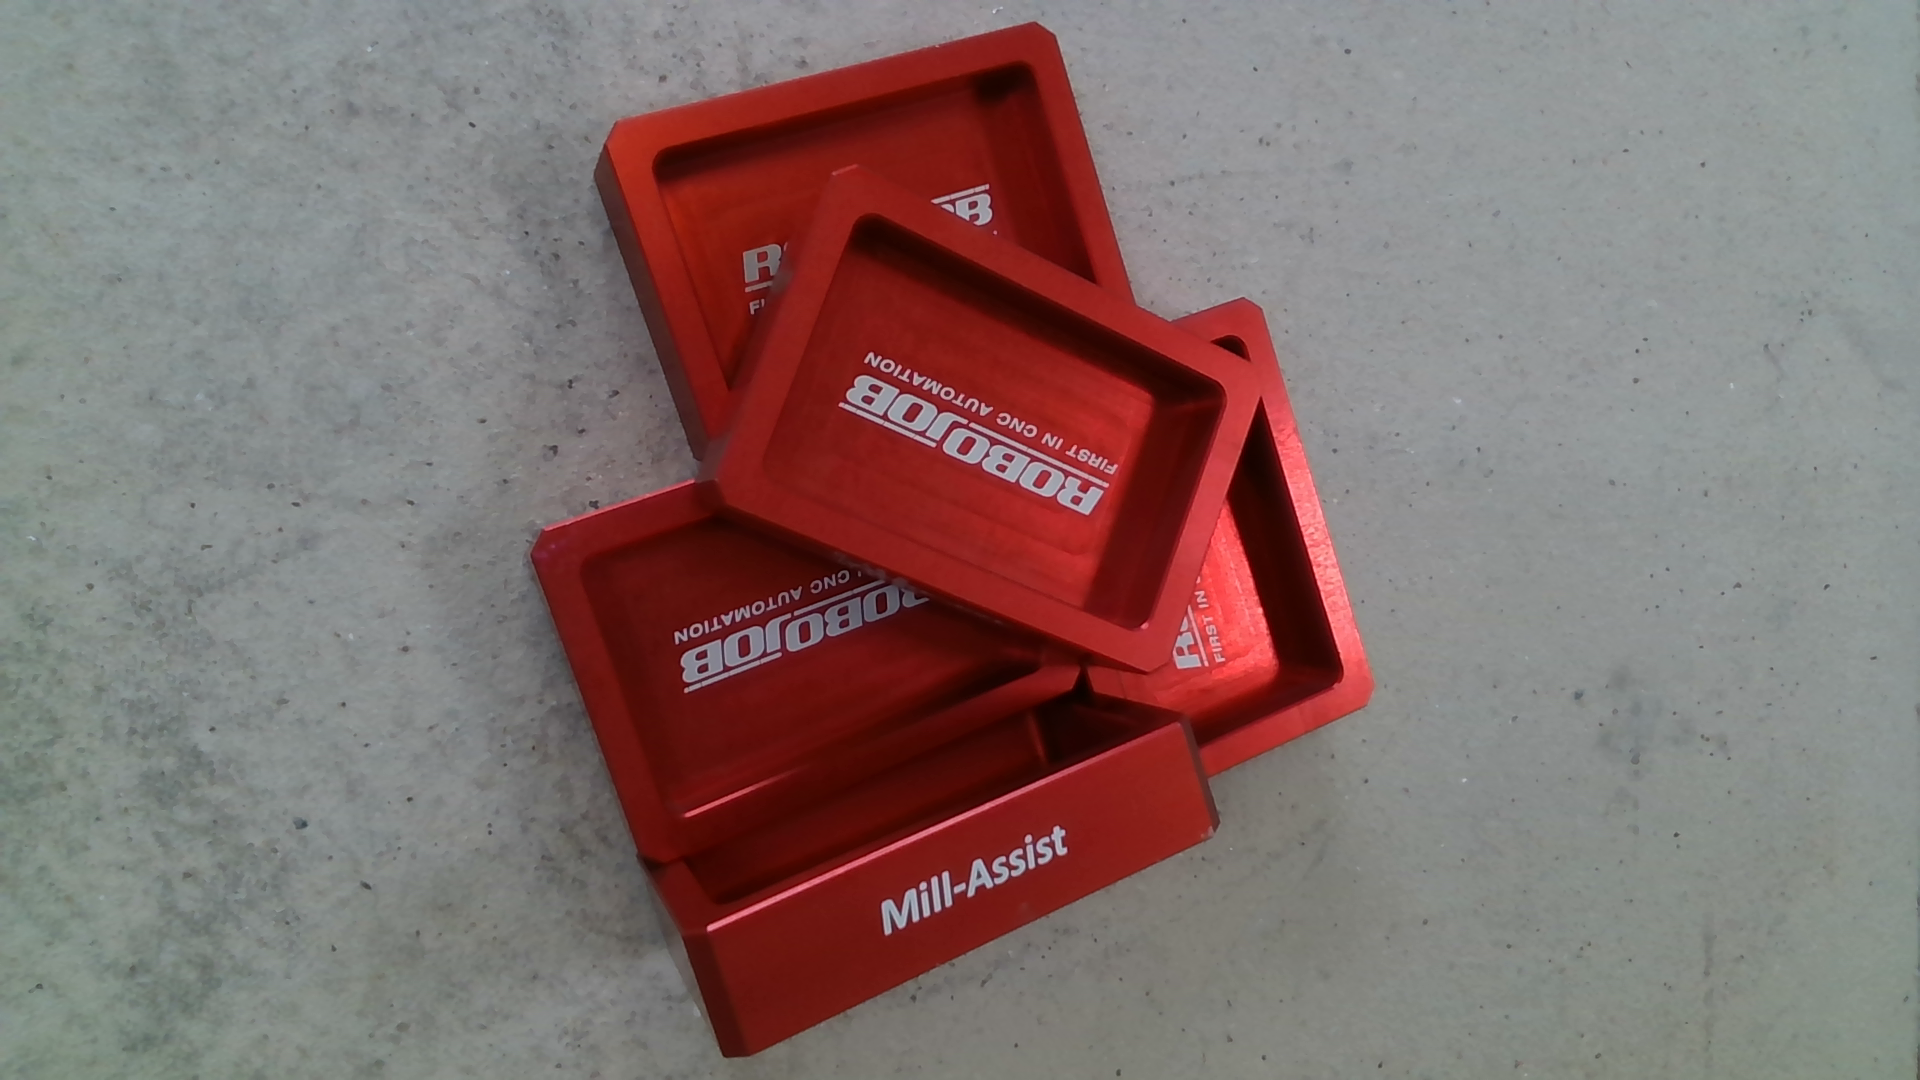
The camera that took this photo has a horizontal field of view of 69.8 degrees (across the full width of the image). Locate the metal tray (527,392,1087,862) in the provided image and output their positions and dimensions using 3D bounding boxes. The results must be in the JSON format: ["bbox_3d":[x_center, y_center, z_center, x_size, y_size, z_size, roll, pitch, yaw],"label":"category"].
[{"bbox_3d":[-0.040,0.019,0.375,0.130,0.030,0.090,-20,96,-18],"label":"metal tray"}]

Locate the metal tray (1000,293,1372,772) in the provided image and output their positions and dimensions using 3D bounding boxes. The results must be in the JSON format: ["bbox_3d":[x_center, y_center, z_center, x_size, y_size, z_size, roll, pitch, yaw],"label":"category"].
[{"bbox_3d":[0.064,0.001,0.416,0.090,0.030,0.130,-20,96,-19],"label":"metal tray"}]

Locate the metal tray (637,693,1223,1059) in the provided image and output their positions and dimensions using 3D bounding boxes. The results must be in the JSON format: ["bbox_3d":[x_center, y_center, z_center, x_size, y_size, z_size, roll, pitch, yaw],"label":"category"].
[{"bbox_3d":[-0.011,0.078,0.353,0.130,0.090,0.030,-19,97,-19],"label":"metal tray"}]

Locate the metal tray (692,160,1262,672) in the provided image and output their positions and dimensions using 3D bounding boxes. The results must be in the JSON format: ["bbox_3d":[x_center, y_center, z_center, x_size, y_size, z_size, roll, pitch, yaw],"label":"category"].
[{"bbox_3d":[0.007,-0.029,0.363,0.130,0.030,0.090,23,82,-18],"label":"metal tray"}]

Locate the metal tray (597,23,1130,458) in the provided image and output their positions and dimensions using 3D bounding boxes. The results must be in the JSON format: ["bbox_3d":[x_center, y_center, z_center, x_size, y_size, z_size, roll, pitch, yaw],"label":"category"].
[{"bbox_3d":[-0.024,-0.082,0.381,0.130,0.030,0.090,-20,96,-19],"label":"metal tray"}]
